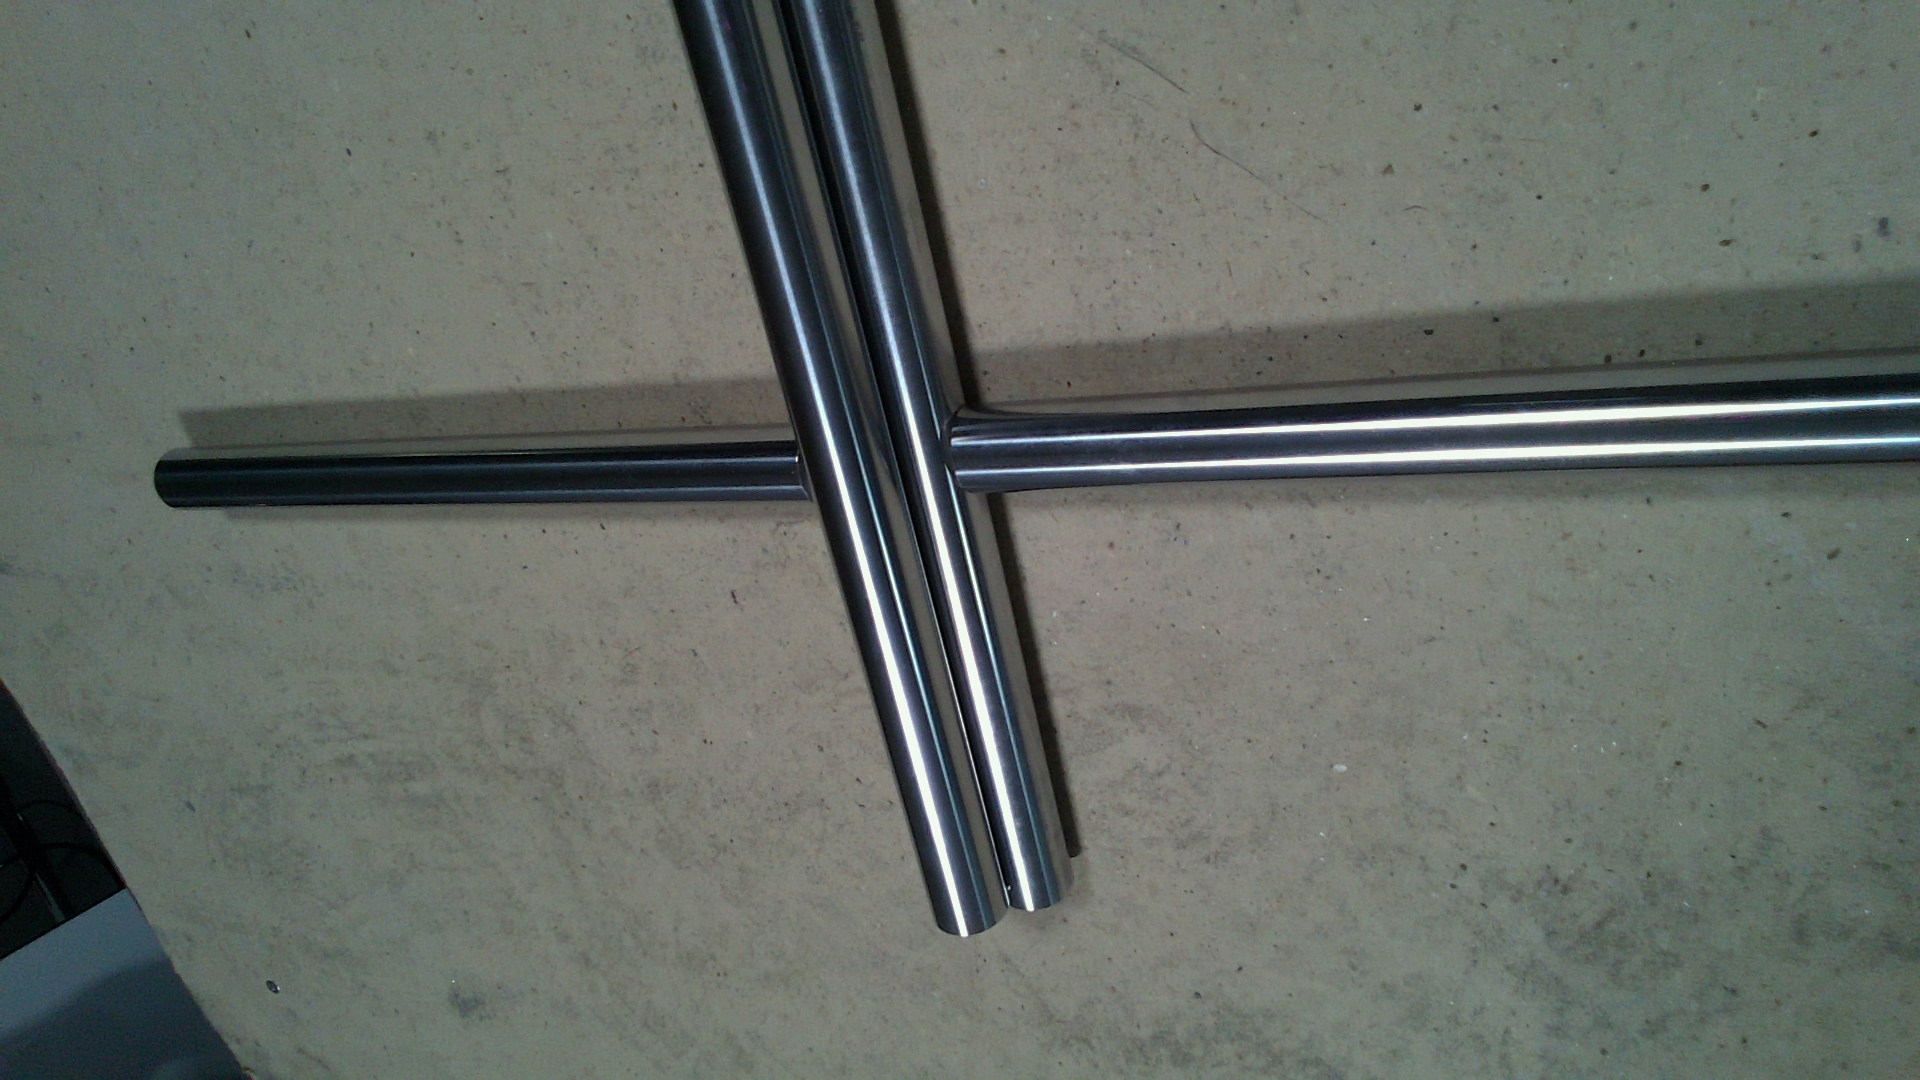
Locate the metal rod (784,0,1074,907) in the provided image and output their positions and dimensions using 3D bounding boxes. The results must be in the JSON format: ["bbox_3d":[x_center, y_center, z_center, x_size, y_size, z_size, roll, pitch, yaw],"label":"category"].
[{"bbox_3d":[-0.007,-0.020,0.385,0.025,0.025,0.300,1,119,28],"label":"metal rod"}]

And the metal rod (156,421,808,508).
[{"bbox_3d":[-0.172,-0.023,0.471,0.299,0.025,0.025,0,119,28],"label":"metal rod"}]

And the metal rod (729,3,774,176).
[{"bbox_3d":[-0.030,-0.026,0.394,0.025,0.025,0.300,1,119,28],"label":"metal rod"}]

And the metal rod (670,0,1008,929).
[{"bbox_3d":[-0.029,-0.017,0.372,0.025,0.025,0.300,1,119,28],"label":"metal rod"}]

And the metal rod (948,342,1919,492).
[{"bbox_3d":[0.134,-0.026,0.304,0.299,0.025,0.025,0,118,28],"label":"metal rod"}]
